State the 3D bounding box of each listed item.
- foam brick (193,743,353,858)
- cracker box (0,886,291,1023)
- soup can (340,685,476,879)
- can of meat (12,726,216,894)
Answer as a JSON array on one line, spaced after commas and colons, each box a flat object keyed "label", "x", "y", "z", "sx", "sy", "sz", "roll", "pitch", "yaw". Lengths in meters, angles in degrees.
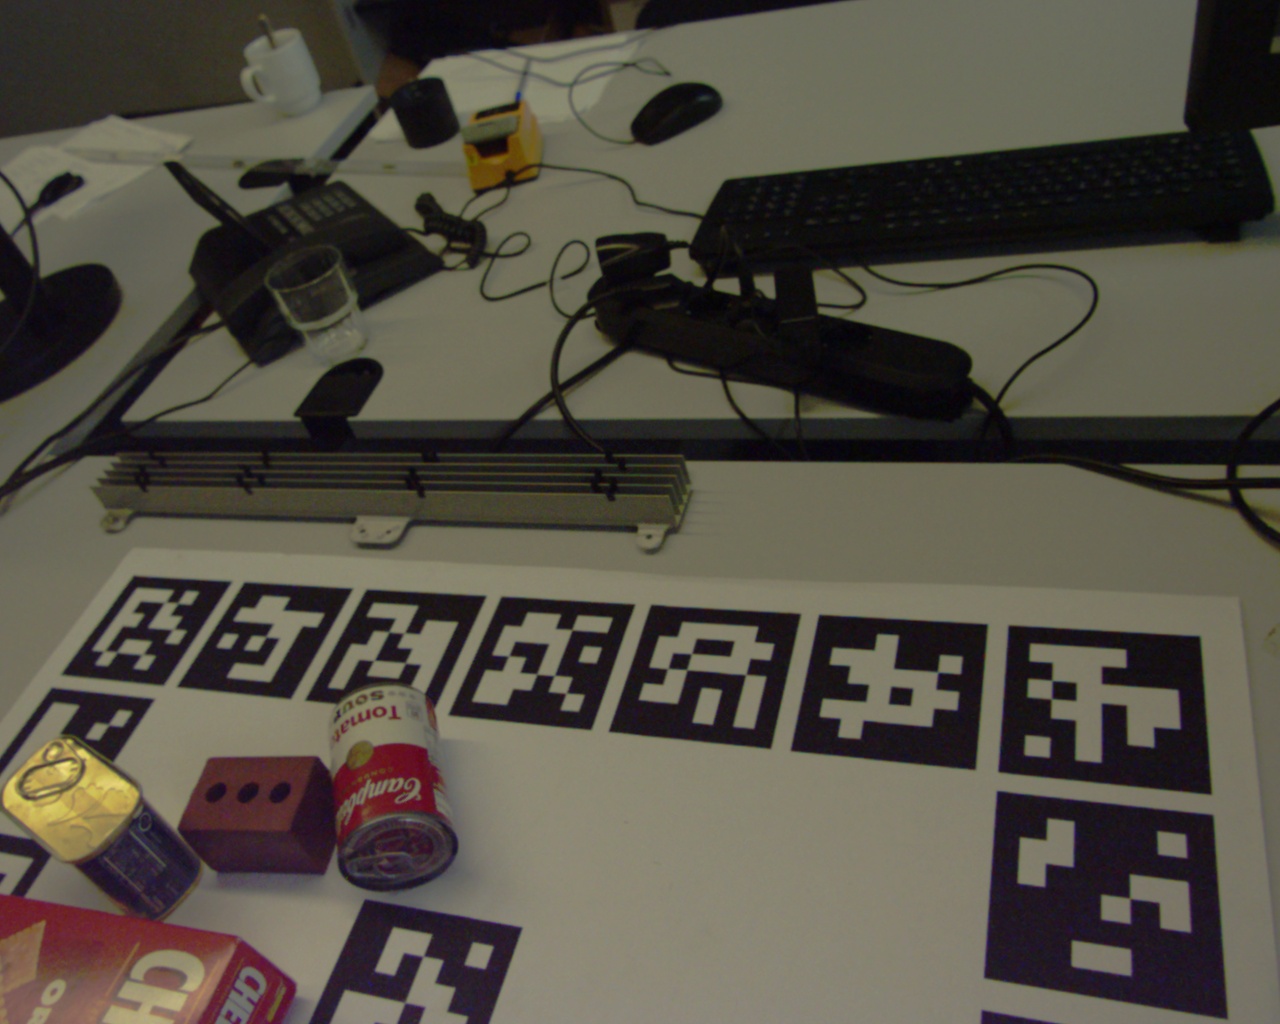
[{"label": "foam brick", "x": -0.230, "y": 0.183, "z": 0.722, "sx": 0.078, "sy": 0.051, "sz": 0.053, "roll": -6, "pitch": 46, "yaw": 15}, {"label": "cracker box", "x": -0.321, "y": 0.292, "z": 0.613, "sx": 0.216, "sy": 0.071, "sz": 0.164, "roll": -5, "pitch": 45, "yaw": 21}, {"label": "soup can", "x": -0.146, "y": 0.165, "z": 0.707, "sx": 0.068, "sy": 0.067, "sz": 0.103, "roll": -26, "pitch": 39, "yaw": -5}, {"label": "can of meat", "x": -0.332, "y": 0.192, "z": 0.725, "sx": 0.103, "sy": 0.083, "sz": 0.057, "roll": 14, "pitch": 54, "yaw": 30}]
